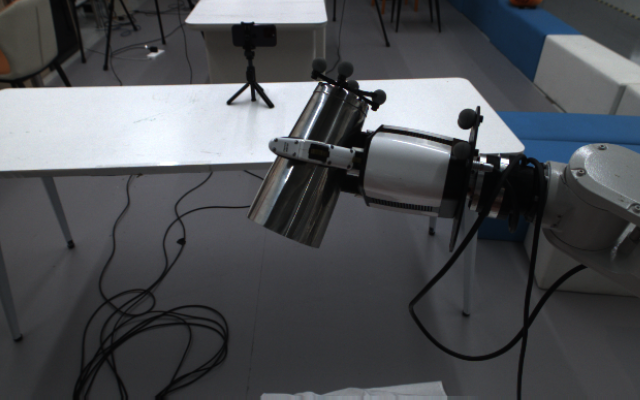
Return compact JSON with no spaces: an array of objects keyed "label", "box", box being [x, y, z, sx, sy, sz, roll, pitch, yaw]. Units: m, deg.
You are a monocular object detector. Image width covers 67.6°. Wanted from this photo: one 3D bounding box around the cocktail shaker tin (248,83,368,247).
[{"label":"cocktail shaker tin","box":[-0.006,-0.044,0.553,0.093,0.170,0.093,23,0,0]}]
